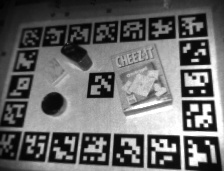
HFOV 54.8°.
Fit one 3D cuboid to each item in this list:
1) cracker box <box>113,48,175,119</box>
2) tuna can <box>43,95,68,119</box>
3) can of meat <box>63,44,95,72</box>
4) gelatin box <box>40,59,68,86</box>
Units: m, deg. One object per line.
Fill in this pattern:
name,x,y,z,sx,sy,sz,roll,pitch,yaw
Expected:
cracker box,0.106,-0.010,0.757,0.164,0.072,0.212,-16,66,4
tuna can,-0.209,0.080,0.802,0.085,0.034,0.085,-4,73,12
can of meat,-0.125,-0.105,0.836,0.101,0.084,0.058,29,78,22
gelatin box,-0.233,-0.052,0.861,0.088,0.030,0.073,42,80,19
